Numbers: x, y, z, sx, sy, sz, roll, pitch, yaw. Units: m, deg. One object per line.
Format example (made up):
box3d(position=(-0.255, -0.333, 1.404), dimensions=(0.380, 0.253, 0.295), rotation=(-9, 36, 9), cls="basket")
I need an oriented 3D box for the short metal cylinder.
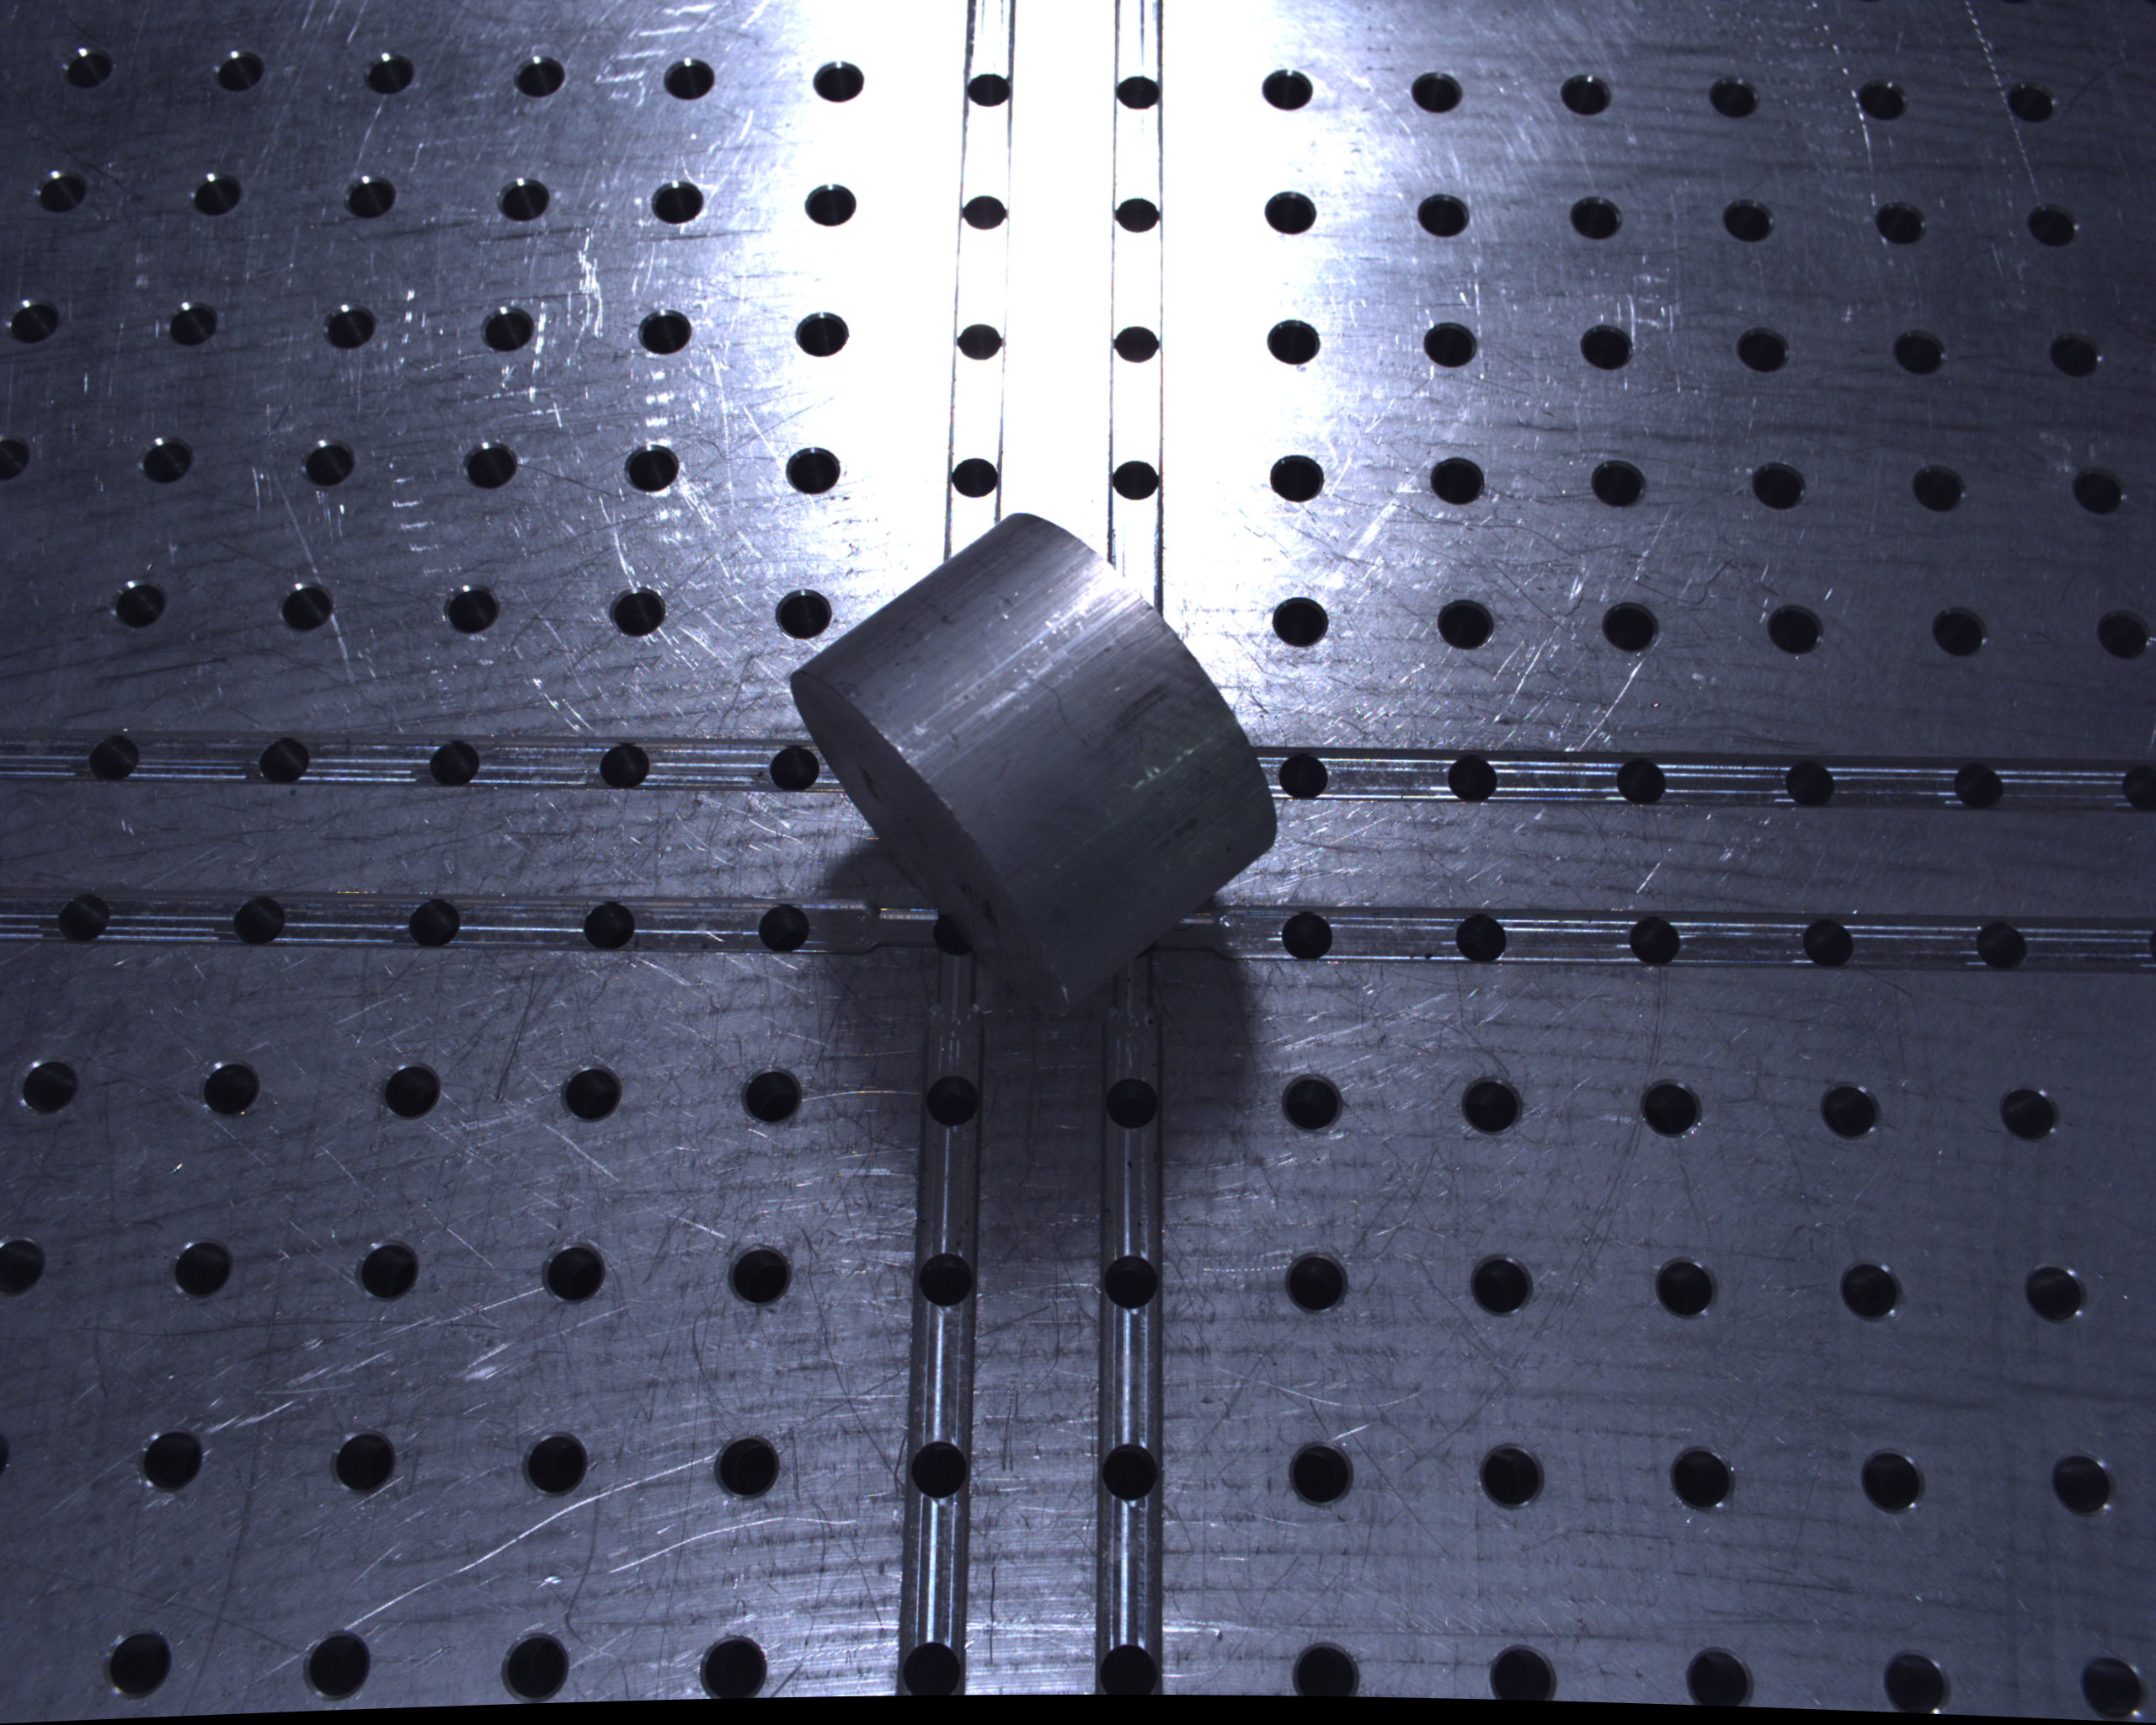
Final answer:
box3d(position=(-0.008, -0.018, 0.388), dimensions=(0.050, 0.080, 0.080), rotation=(-39, 75, -13), cls="short metal cylinder")
